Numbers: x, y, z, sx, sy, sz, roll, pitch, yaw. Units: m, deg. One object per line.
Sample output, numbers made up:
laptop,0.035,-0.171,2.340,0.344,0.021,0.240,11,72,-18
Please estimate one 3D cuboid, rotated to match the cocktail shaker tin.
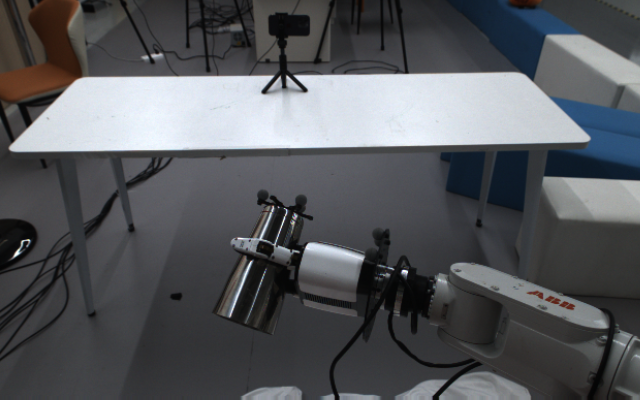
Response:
cocktail shaker tin,-0.083,0.097,0.699,0.093,0.093,0.170,14,69,16
